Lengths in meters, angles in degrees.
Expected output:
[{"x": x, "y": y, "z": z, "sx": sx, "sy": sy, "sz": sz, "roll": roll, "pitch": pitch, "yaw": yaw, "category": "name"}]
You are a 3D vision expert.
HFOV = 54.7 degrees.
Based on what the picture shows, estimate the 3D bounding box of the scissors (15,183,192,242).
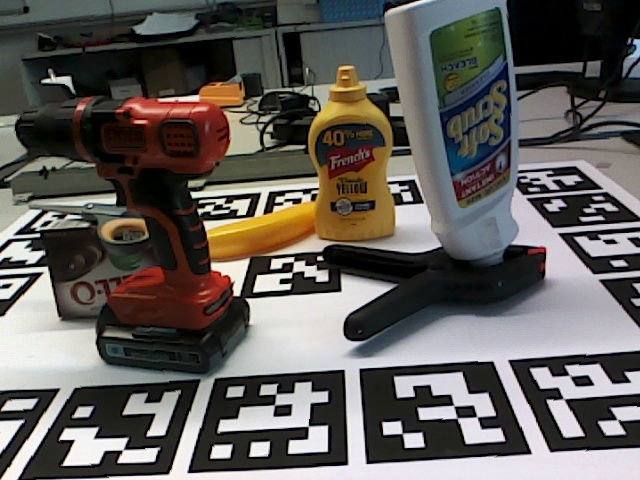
[{"x": -0.222, "y": -0.037, "z": 0.590, "sx": 0.204, "sy": 0.016, "sz": 0.087, "roll": 11, "pitch": 32, "yaw": 24, "category": "scissors"}]

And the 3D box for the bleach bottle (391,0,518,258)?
[{"x": 0.133, "y": -0.083, "z": 0.549, "sx": 0.102, "sy": 0.250, "sz": 0.068, "roll": -18, "pitch": 22, "yaw": -11, "category": "bleach bottle"}]

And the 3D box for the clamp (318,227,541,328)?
[{"x": 0.107, "y": 0.021, "z": 0.578, "sx": 0.202, "sy": 0.036, "sz": 0.166, "roll": -5, "pitch": 26, "yaw": -4, "category": "clamp"}]

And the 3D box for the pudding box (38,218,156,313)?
[{"x": -0.208, "y": 0.024, "z": 0.608, "sx": 0.114, "sy": 0.090, "sz": 0.038, "roll": -2, "pitch": 17, "yaw": 7, "category": "pudding box"}]

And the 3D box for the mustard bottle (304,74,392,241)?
[{"x": 0.031, "y": -0.090, "z": 0.702, "sx": 0.096, "sy": 0.191, "sz": 0.058, "roll": 3, "pitch": 24, "yaw": 15, "category": "mustard bottle"}]

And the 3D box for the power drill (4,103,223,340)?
[{"x": -0.157, "y": -0.016, "z": 0.498, "sx": 0.185, "sy": 0.186, "sz": 0.057, "roll": -1, "pitch": 17, "yaw": 17, "category": "power drill"}]

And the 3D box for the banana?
[{"x": -0.071, "y": -0.029, "z": 0.747, "sx": 0.196, "sy": 0.039, "sz": 0.075, "roll": -22, "pitch": 12, "yaw": -33, "category": "banana"}]
